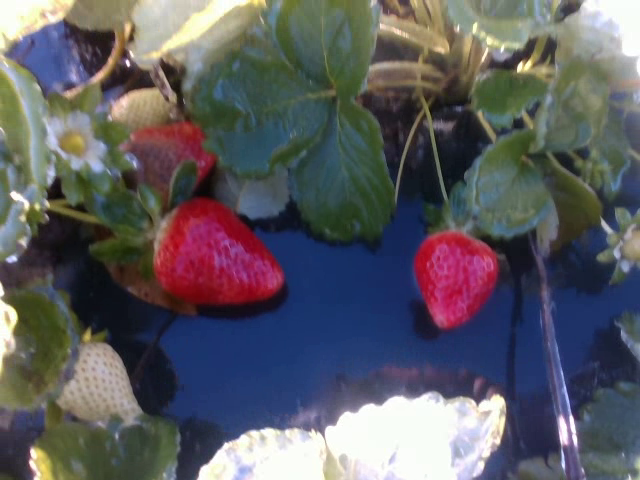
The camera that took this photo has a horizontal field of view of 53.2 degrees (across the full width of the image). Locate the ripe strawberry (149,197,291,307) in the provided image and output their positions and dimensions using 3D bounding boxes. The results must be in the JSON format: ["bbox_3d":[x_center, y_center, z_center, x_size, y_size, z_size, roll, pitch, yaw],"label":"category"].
[{"bbox_3d":[-0.039,0.009,0.249,0.056,0.044,0.040,28,-7,-6],"label":"ripe strawberry"}]

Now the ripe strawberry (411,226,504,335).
[{"bbox_3d":[0.055,0.016,0.250,0.039,0.047,0.040,17,-17,-8],"label":"ripe strawberry"}]
